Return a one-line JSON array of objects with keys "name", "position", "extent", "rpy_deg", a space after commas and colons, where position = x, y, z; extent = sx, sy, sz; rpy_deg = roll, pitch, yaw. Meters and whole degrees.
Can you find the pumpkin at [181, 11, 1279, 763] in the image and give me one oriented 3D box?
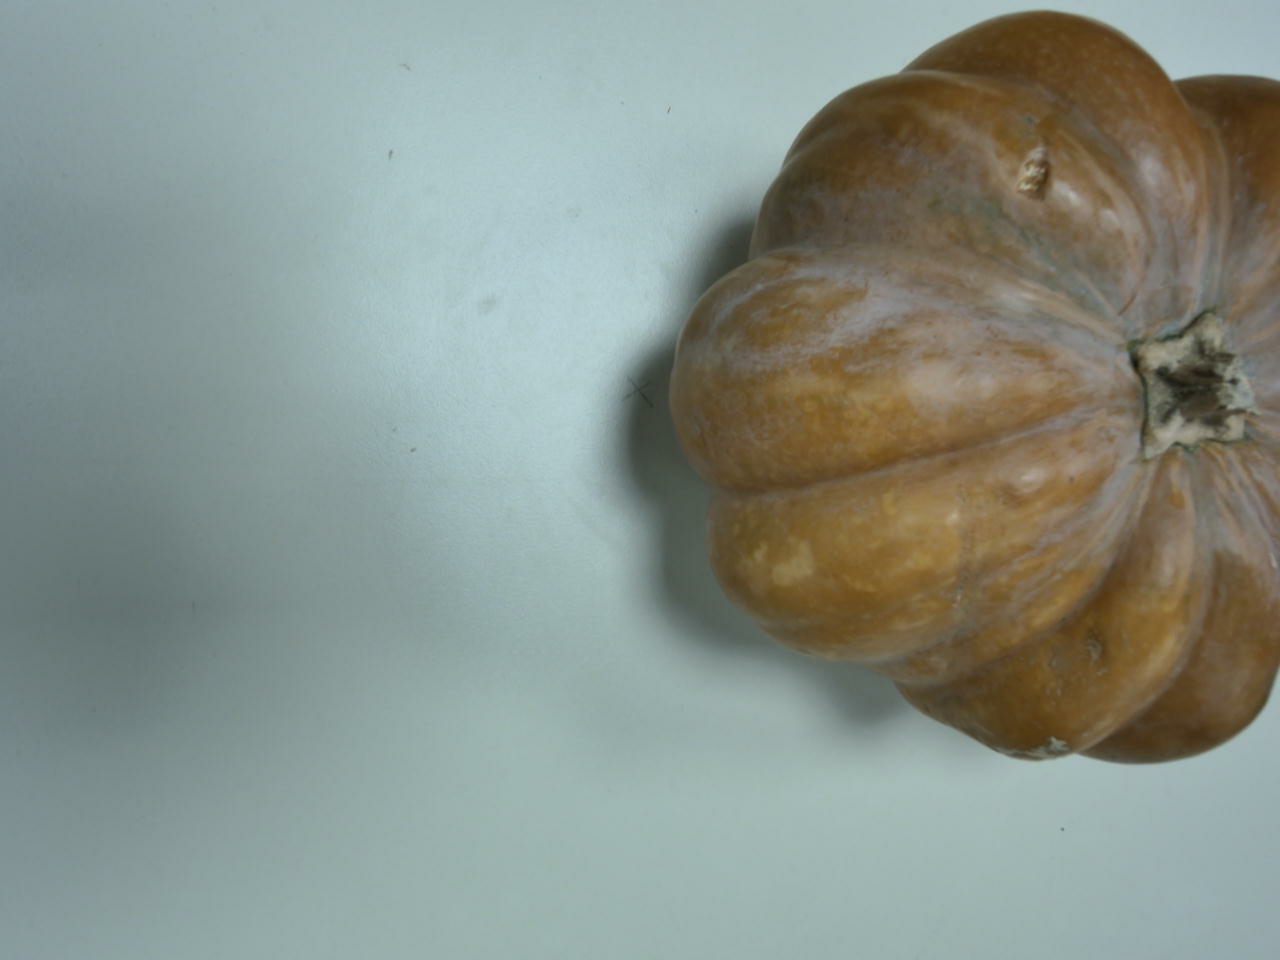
[{"name": "pumpkin", "position": [0.148, -0.031, 0.374], "extent": [0.277, 0.181, 0.277], "rpy_deg": [0, 91, -12]}]
